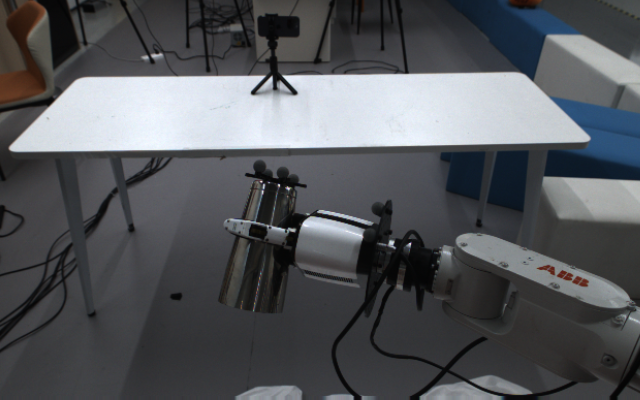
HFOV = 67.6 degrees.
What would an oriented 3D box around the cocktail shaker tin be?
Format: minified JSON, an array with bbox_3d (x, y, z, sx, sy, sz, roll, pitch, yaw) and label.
[{"bbox_3d":[-0.079,0.064,0.676,0.093,0.170,0.093,11,-5,1],"label":"cocktail shaker tin"}]
